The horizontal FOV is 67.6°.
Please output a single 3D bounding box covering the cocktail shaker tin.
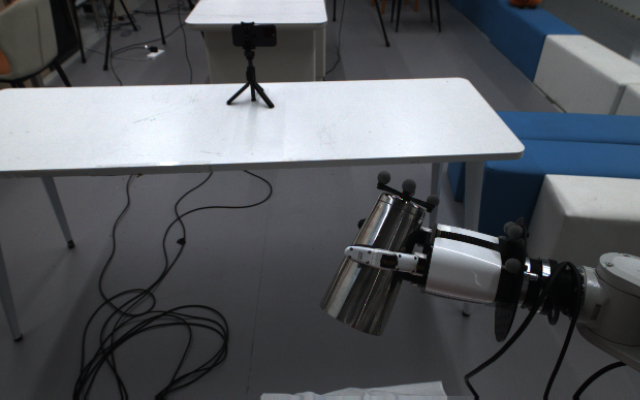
[{"bbox_3d":[0.078,0.079,0.642,0.093,0.170,0.093,23,0,0],"label":"cocktail shaker tin"}]
